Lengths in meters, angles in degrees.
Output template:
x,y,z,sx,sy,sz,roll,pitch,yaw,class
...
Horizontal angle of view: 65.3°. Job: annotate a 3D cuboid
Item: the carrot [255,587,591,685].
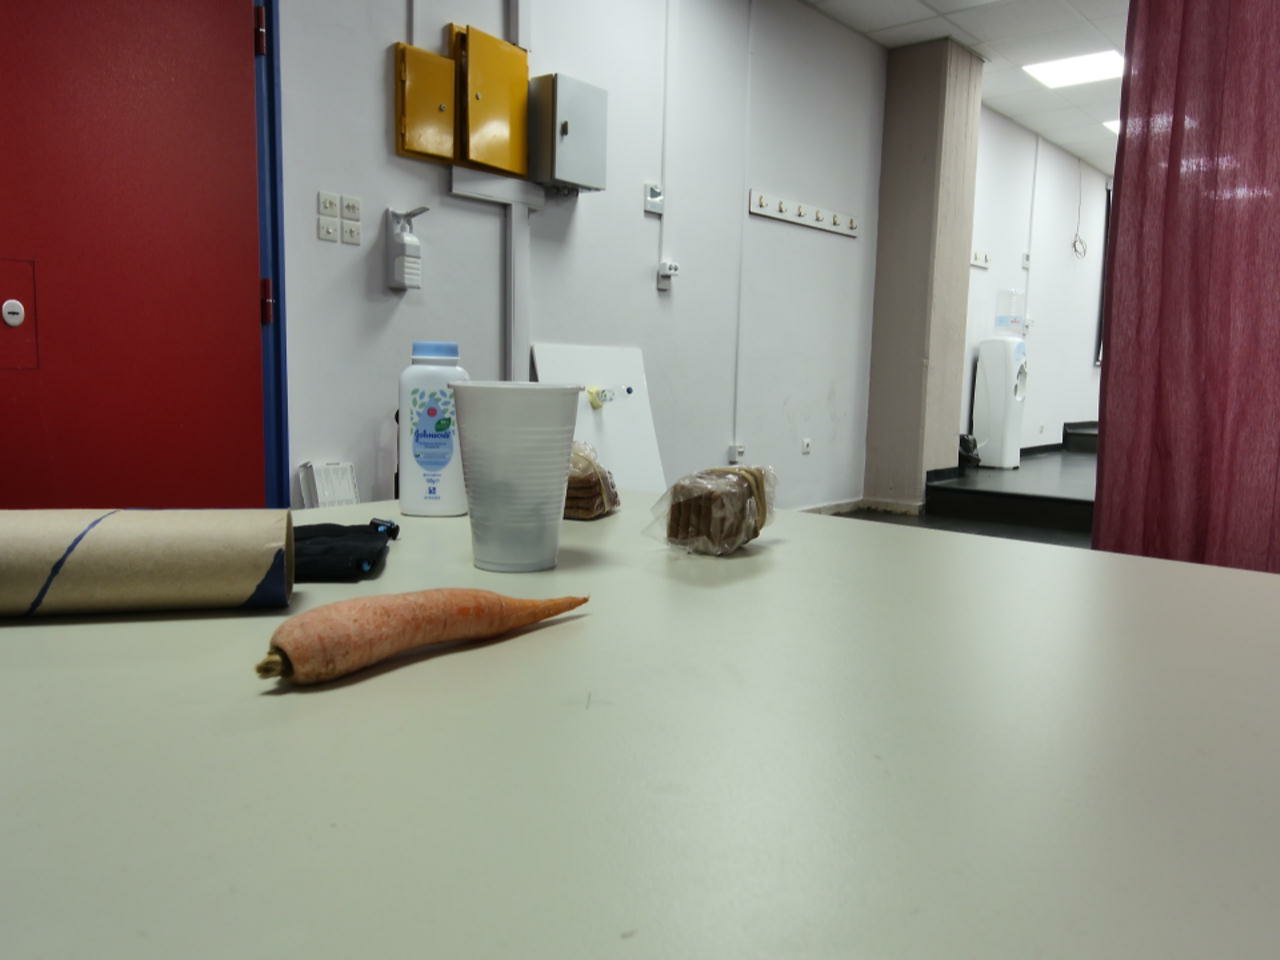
x,y,z,sx,sy,sz,roll,pitch,yaw,class
-0.084,0.058,0.420,0.031,0.029,0.163,3,6,40,carrot
